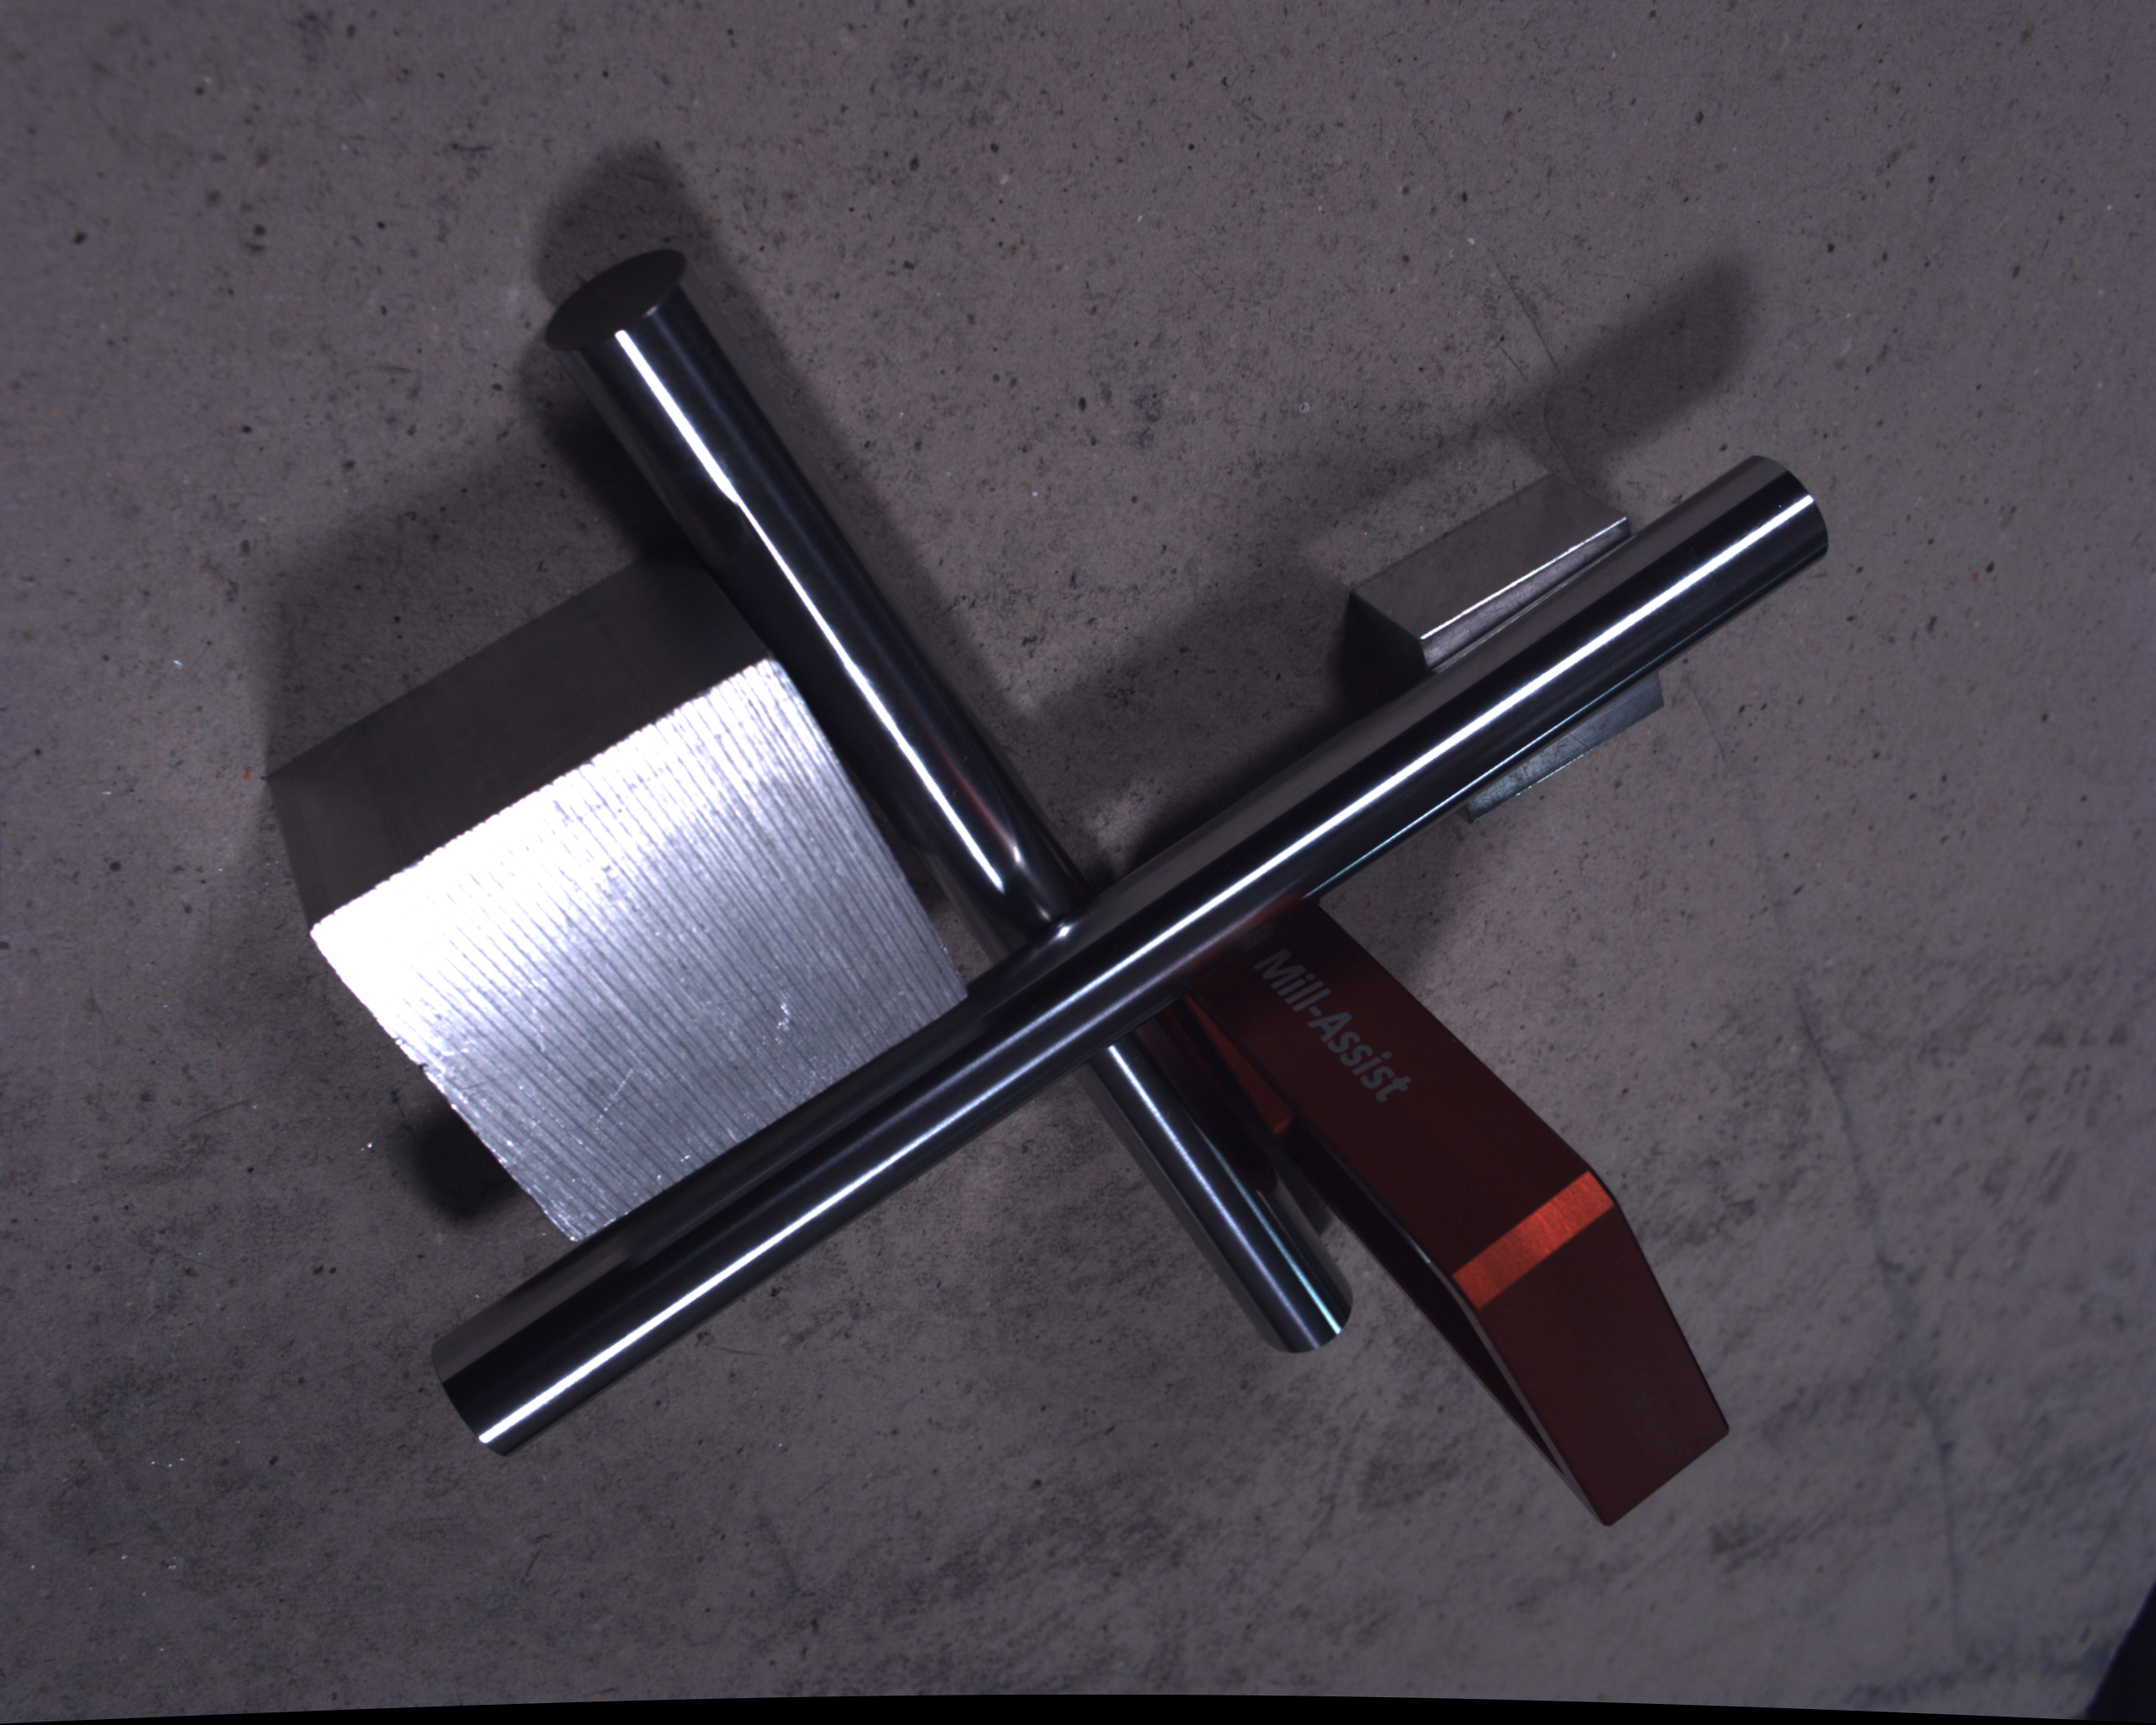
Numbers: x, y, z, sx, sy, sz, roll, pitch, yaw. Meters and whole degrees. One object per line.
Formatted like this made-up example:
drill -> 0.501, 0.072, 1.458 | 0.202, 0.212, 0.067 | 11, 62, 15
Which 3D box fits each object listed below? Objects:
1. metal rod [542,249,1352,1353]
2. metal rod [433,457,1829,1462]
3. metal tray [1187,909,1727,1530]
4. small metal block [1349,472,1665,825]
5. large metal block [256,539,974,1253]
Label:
metal rod -> -0.008, 0.011, 0.413 | 0.025, 0.025, 0.299 | -36, 130, -4
metal rod -> 0.015, 0.014, 0.394 | 0.301, 0.025, 0.025 | -34, 129, -6
metal tray -> 0.066, 0.059, 0.414 | 0.030, 0.130, 0.090 | -36, 129, -4
small metal block -> 0.090, -0.044, 0.432 | 0.050, 0.025, 0.050 | -31, 129, -9
large metal block -> -0.076, 0.005, 0.353 | 0.080, 0.050, 0.080 | -32, 129, -8
